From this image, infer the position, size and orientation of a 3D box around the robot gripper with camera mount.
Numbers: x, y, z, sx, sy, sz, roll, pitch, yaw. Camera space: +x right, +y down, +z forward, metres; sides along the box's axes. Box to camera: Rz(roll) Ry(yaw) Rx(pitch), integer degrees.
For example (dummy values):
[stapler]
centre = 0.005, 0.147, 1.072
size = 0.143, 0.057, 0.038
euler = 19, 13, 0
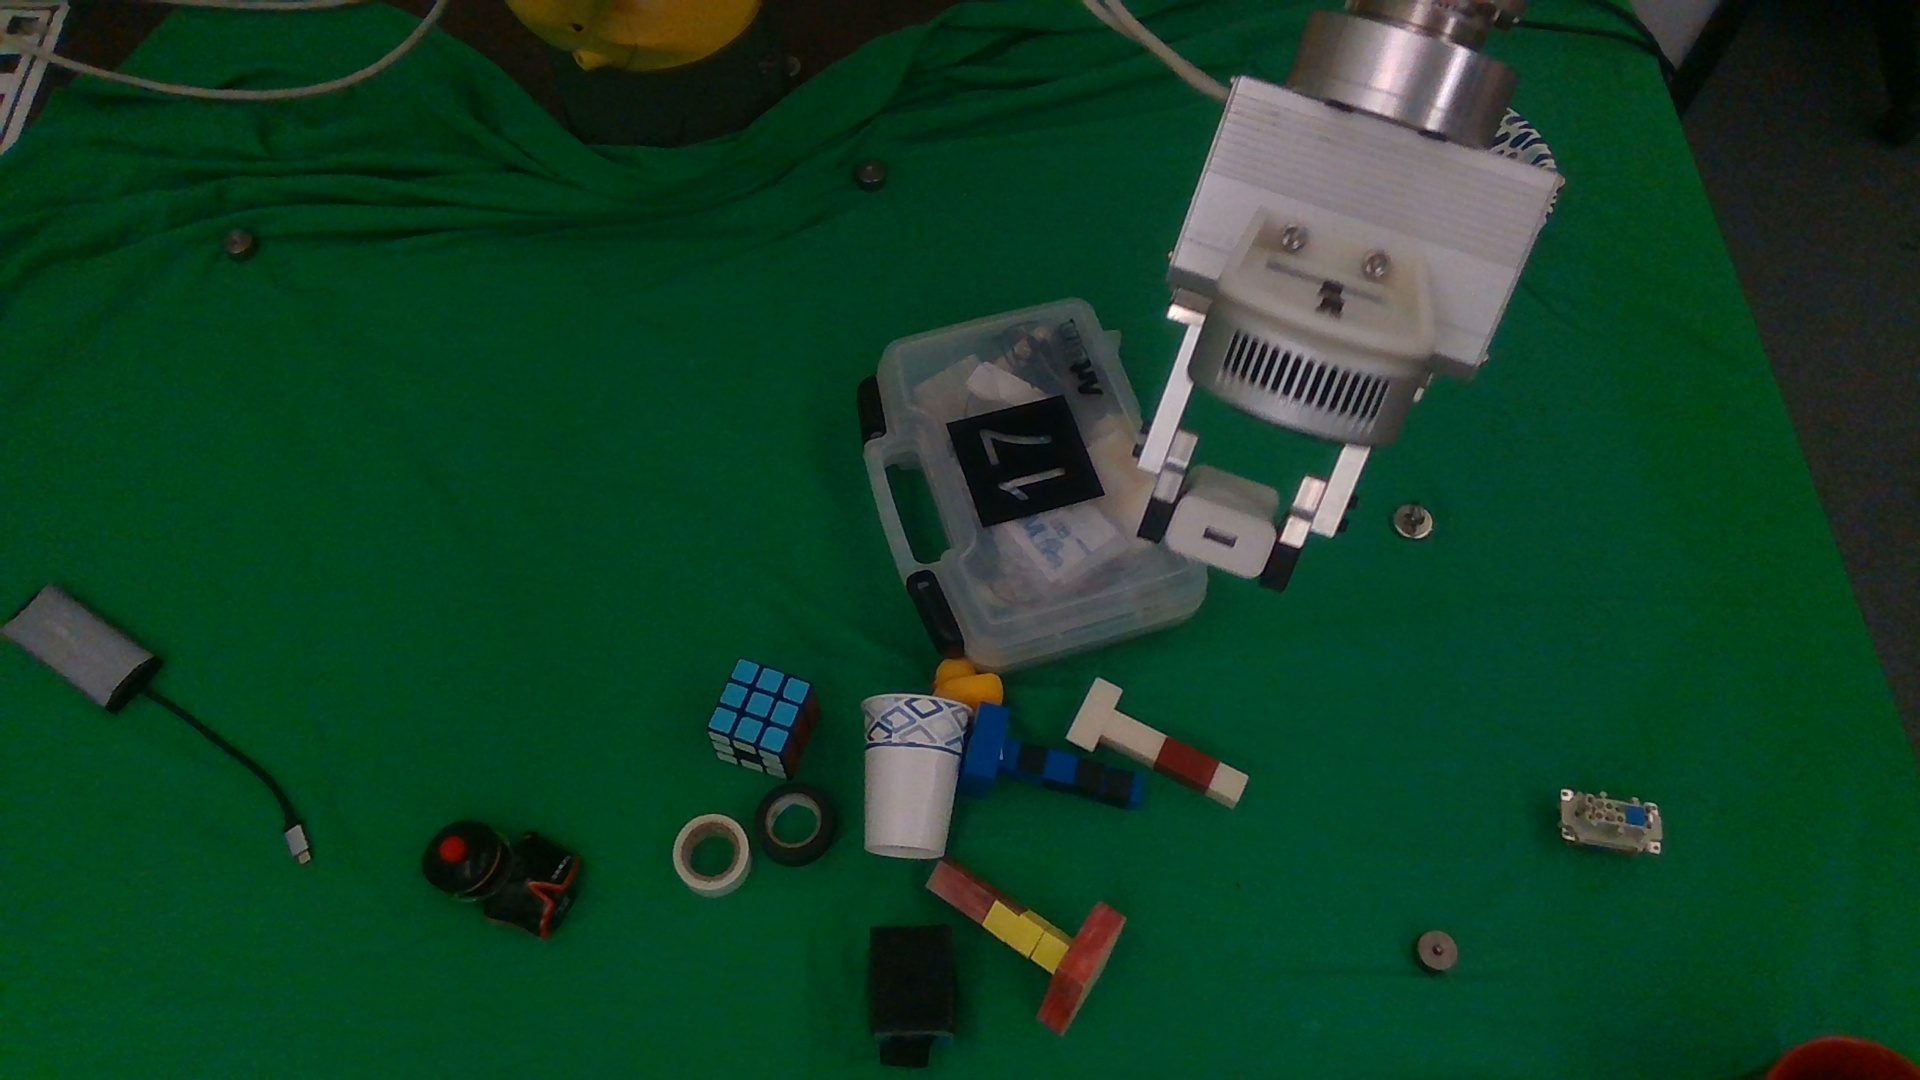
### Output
[robot gripper with camera mount]
centre = 0.106, -0.031, 0.450
size = 0.119, 0.193, 0.158
euler = 21, 109, 6

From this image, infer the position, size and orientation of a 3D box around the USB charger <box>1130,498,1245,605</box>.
[USB charger]
centre = 0.095, -0.001, 0.570
size = 0.045, 0.029, 0.075
euler = 20, 20, 5
